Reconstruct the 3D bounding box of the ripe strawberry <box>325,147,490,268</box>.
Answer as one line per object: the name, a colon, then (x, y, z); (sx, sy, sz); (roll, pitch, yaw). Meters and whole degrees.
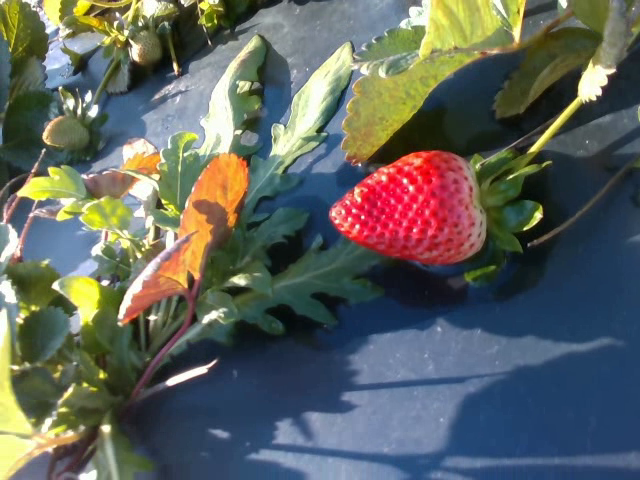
ripe strawberry: (0.026, -0.010, 0.174); (0.054, 0.043, 0.036); (-8, 2, -1)
